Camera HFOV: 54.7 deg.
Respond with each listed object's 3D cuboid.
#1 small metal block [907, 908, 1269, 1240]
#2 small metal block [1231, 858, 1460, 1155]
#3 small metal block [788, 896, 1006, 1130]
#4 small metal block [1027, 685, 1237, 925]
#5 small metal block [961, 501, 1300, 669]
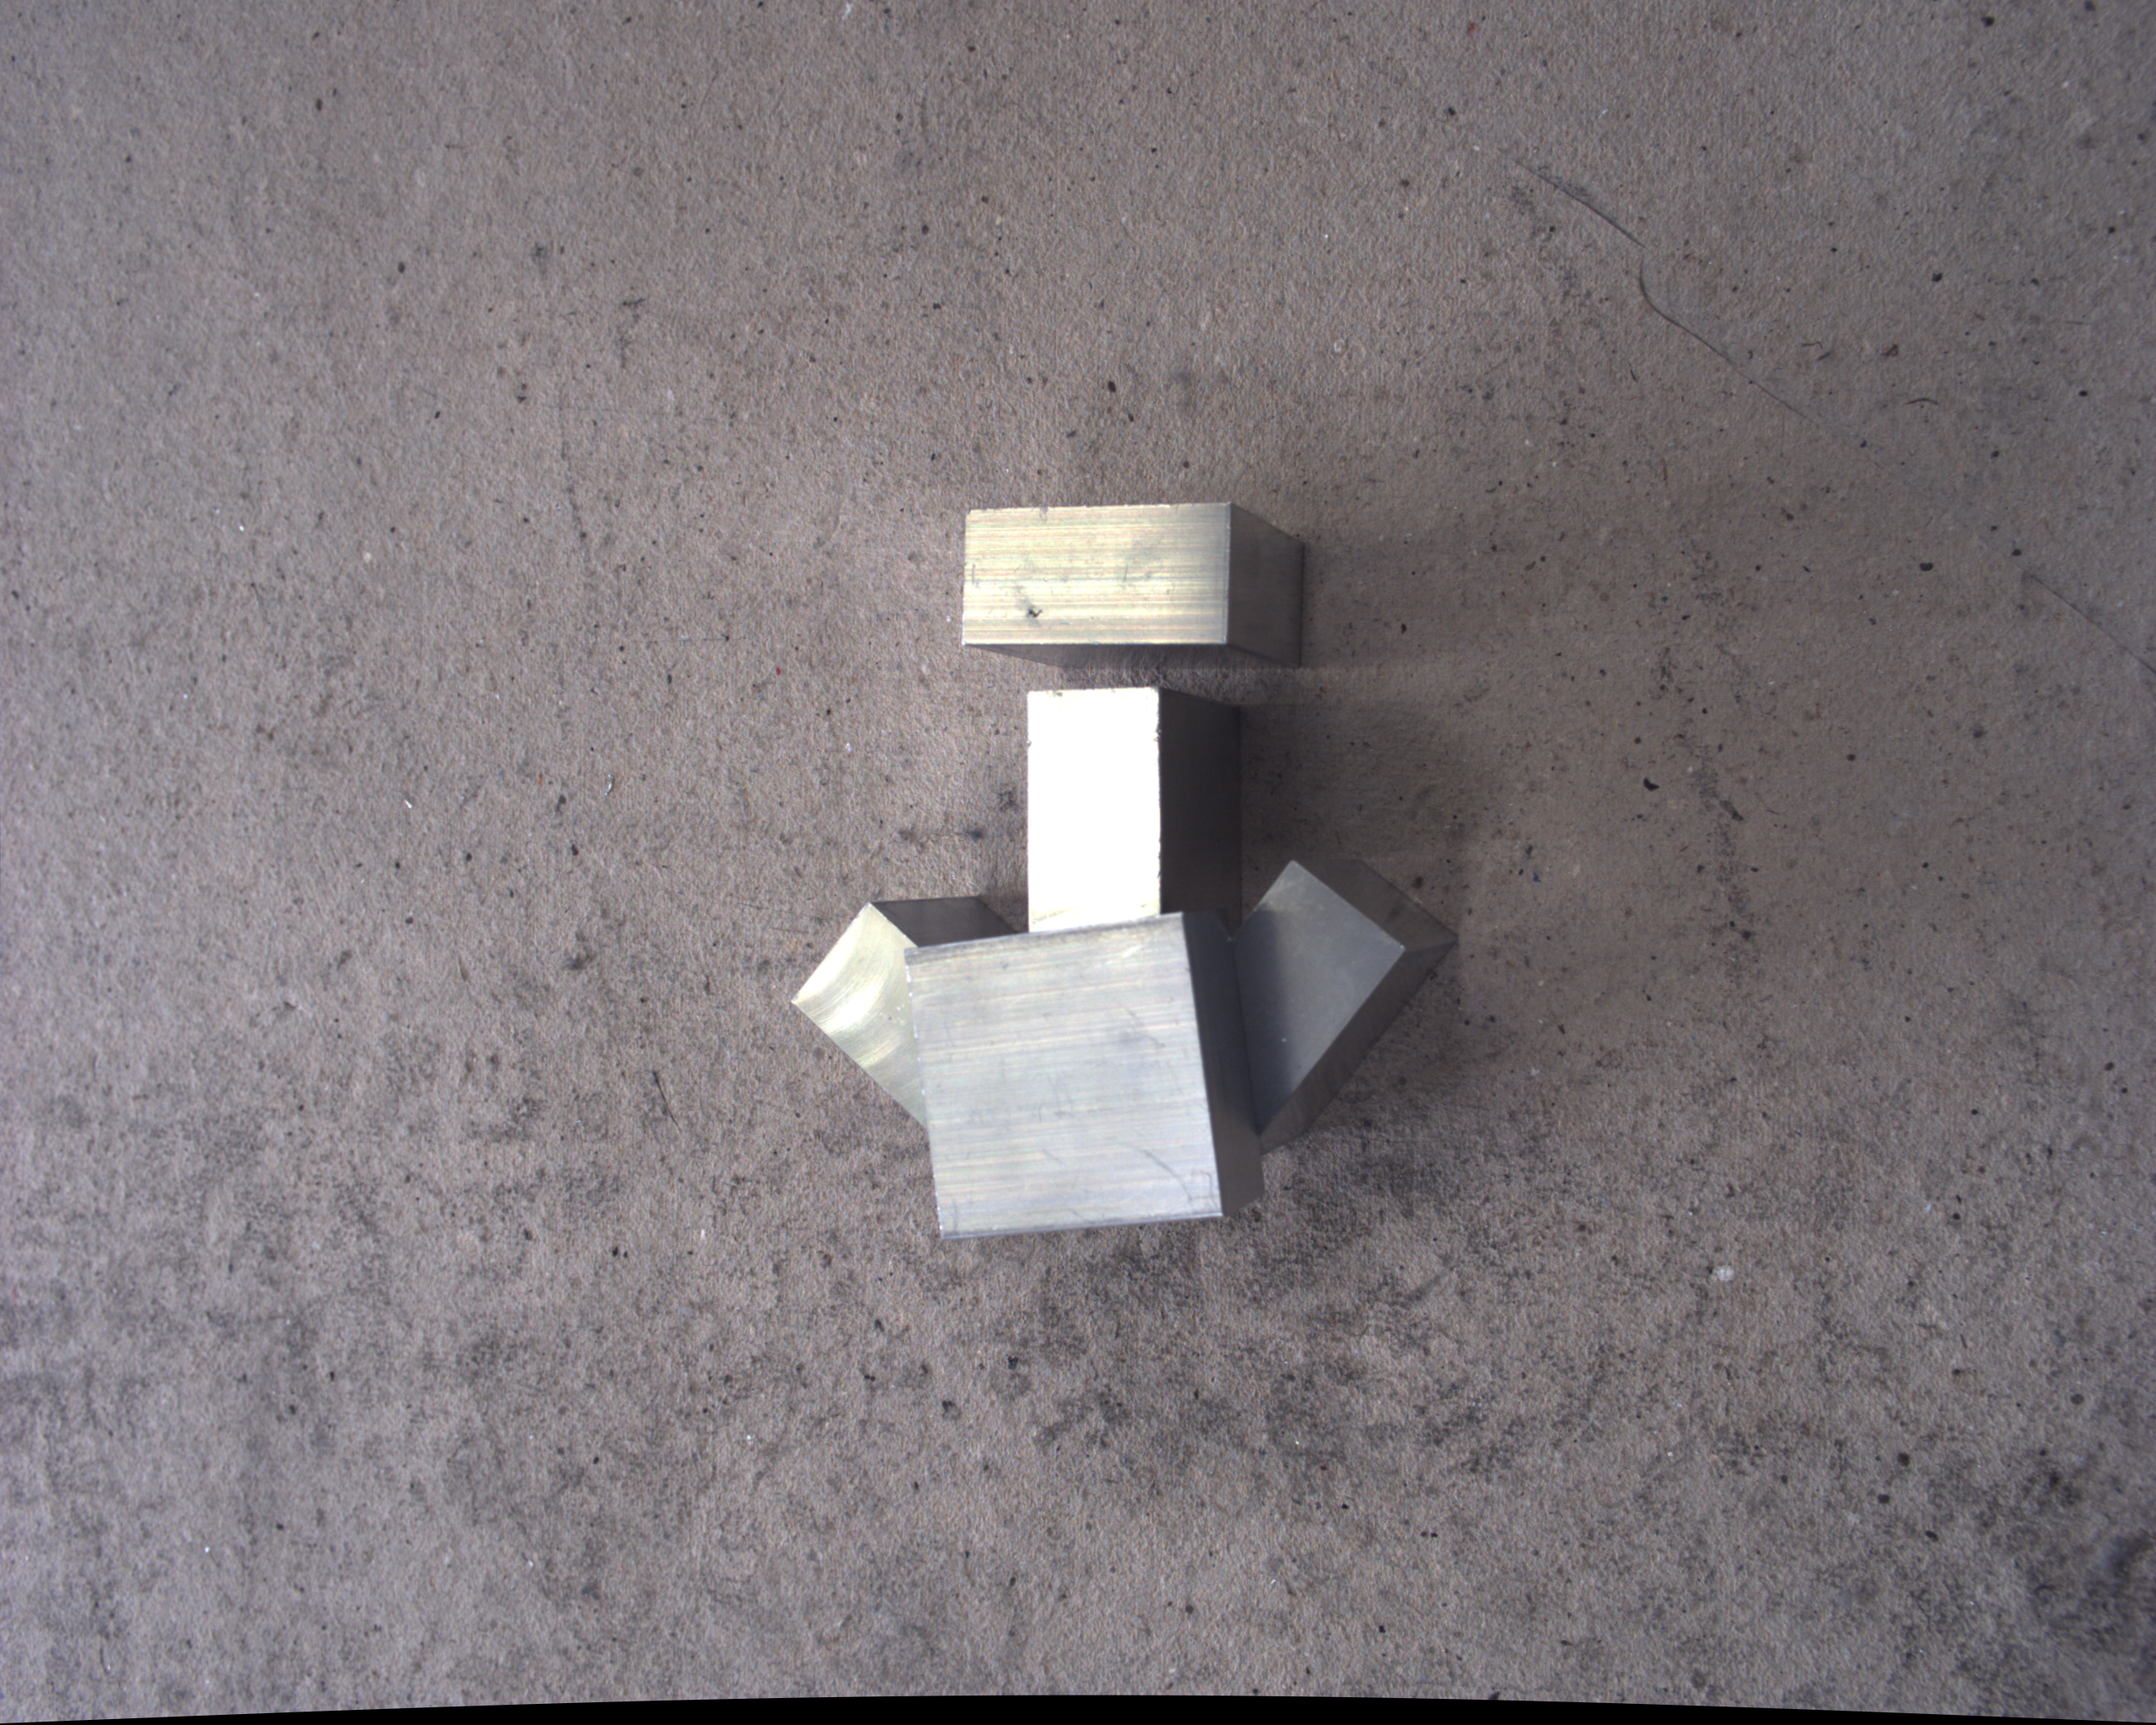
[{"bbox_3d":[0.002,0.036,0.357,0.050,0.025,0.050,-8,87,20],"label":"small metal block"},{"bbox_3d":[0.041,0.026,0.383,0.025,0.050,0.050,39,103,16],"label":"small metal block"},{"bbox_3d":[-0.020,0.033,0.403,0.050,0.050,0.025,41,103,14],"label":"small metal block"},{"bbox_3d":[0.011,-0.006,0.394,0.025,0.050,0.050,-1,89,19],"label":"small metal block"},{"bbox_3d":[0.011,-0.051,0.393,0.050,0.050,0.025,2,91,19],"label":"small metal block"}]
